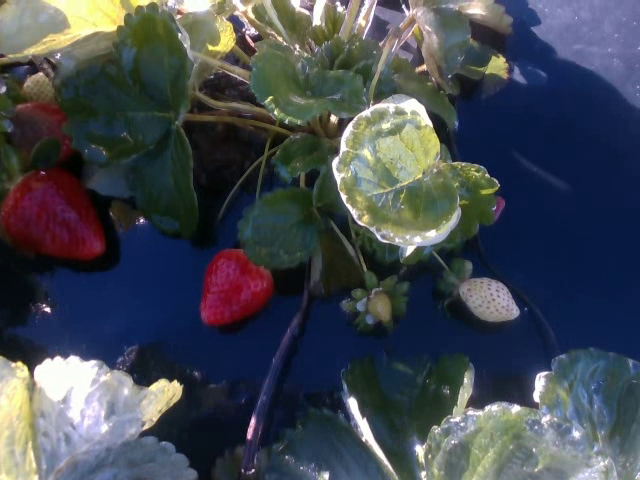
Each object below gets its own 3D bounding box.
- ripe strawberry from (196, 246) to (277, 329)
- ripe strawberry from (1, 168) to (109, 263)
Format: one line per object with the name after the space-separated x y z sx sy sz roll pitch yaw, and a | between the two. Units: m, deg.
-0.041 0.025 0.287 0.039 0.047 0.040 33 -14 -3 | ripe strawberry
-0.129 -0.008 0.295 0.056 0.044 0.040 44 -4 -2 | ripe strawberry
